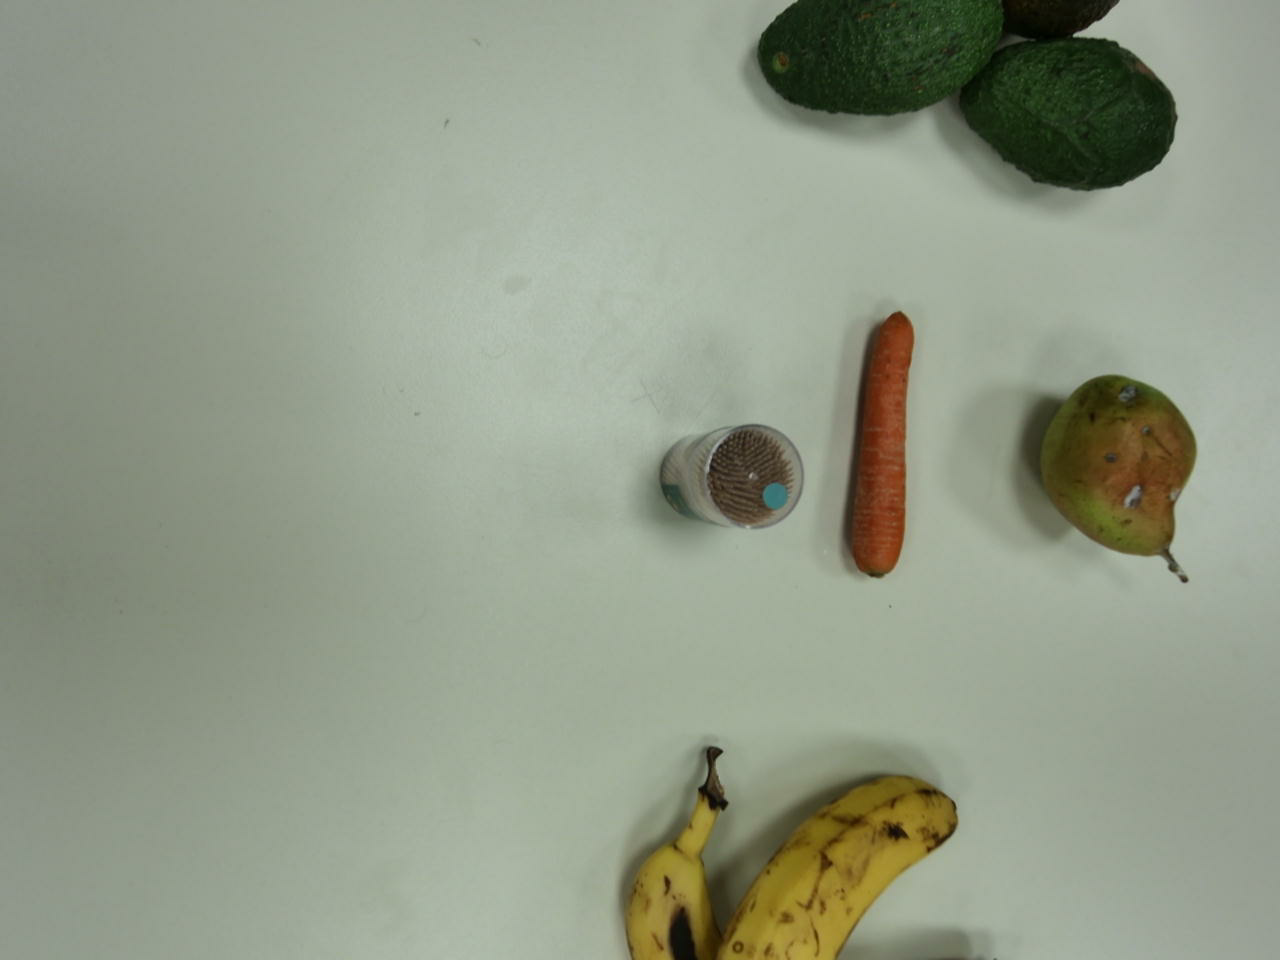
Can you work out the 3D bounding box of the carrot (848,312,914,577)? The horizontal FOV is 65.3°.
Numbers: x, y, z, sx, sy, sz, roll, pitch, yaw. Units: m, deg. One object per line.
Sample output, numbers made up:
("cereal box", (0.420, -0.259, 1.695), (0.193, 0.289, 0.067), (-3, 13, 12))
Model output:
("carrot", (0.112, -0.017, 0.455), (0.024, 0.023, 0.122), (7, 89, -12))
